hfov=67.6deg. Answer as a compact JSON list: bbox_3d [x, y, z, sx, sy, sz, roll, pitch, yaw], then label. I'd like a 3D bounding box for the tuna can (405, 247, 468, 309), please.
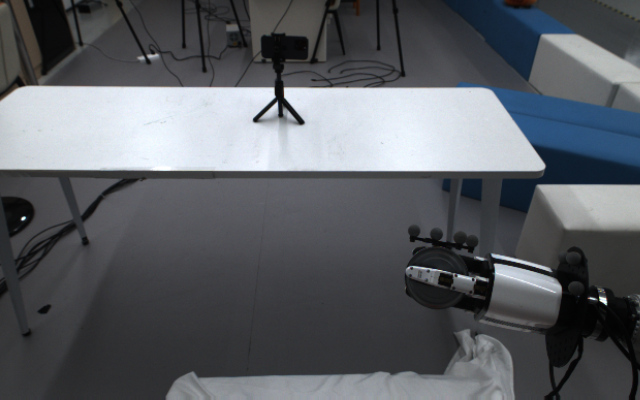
[{"bbox_3d":[0.164,0.103,0.671,0.085,0.085,0.034,10,-6,12],"label":"tuna can"}]
